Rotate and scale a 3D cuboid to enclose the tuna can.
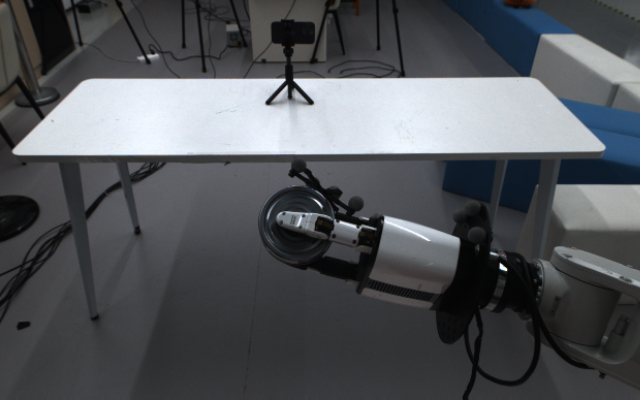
[{"bbox_3d":[-0.021,0.034,0.536,0.085,0.034,0.085,0,74,0],"label":"tuna can"}]
